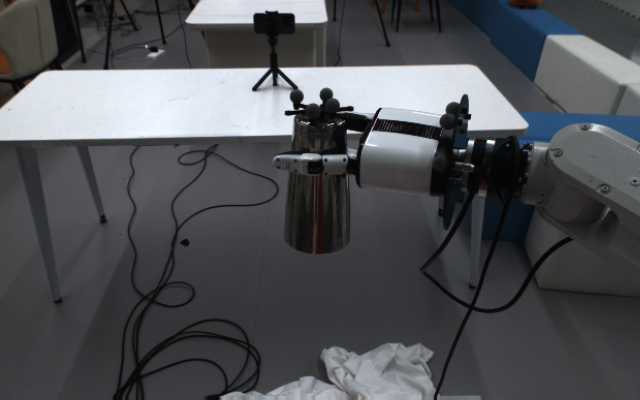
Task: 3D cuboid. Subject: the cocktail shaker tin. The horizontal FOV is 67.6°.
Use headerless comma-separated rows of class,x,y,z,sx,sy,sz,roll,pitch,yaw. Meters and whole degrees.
cocktail shaker tin,0.001,-0.029,0.637,0.093,0.170,0.093,1,27,-1
